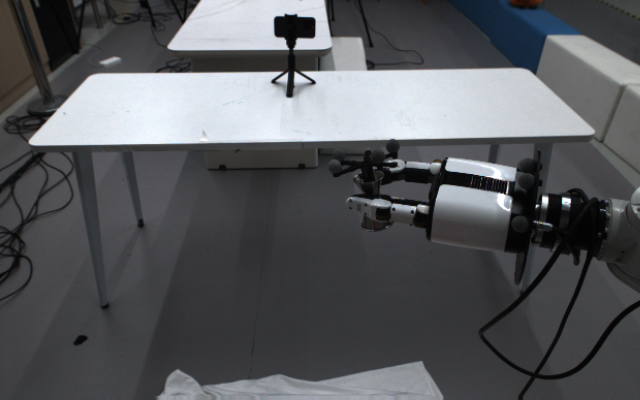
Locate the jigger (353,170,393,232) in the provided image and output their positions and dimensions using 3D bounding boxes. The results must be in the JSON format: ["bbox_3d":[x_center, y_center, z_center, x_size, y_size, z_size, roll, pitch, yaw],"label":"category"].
[{"bbox_3d":[0.069,0.000,0.625,0.043,0.071,0.043,-11,24,5],"label":"jigger"}]
